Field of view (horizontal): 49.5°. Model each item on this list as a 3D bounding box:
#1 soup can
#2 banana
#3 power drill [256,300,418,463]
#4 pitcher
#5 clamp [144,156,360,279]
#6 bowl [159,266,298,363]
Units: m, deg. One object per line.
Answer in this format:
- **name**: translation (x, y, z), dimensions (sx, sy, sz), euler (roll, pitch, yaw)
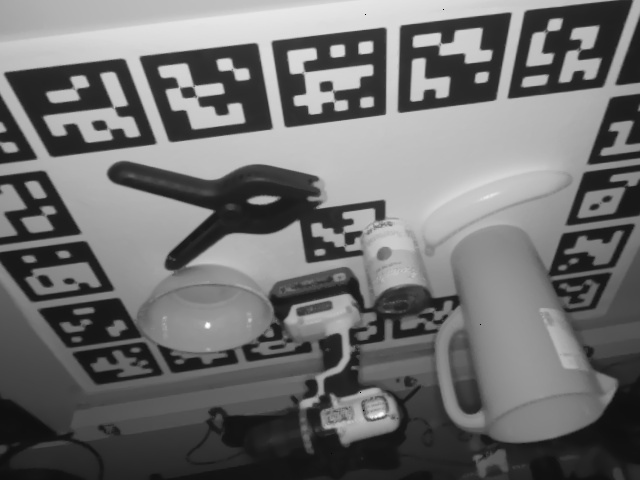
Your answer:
- **soup can**: translation (0.116, 0.044, 0.805), dimensions (0.068, 0.102, 0.067), euler (-7, 147, -4)
- **banana**: translation (0.232, -0.029, 0.798), dimensions (0.195, 0.039, 0.074), euler (-23, 145, 17)
- **power drill**: translation (0.012, 0.168, 0.829), dimensions (0.185, 0.188, 0.057), euler (-10, 138, 1)
- **pitcher**: translation (0.248, 0.122, 0.811), dimensions (0.187, 0.244, 0.134), euler (-23, 139, 15)
- **clamp**: translation (-0.060, -0.032, 0.724), dimensions (0.203, 0.037, 0.164), euler (-9, 134, -1)
- **bowl**: translation (-0.110, 0.081, 0.835), dimensions (0.162, 0.055, 0.160), euler (-6, 137, -5)
